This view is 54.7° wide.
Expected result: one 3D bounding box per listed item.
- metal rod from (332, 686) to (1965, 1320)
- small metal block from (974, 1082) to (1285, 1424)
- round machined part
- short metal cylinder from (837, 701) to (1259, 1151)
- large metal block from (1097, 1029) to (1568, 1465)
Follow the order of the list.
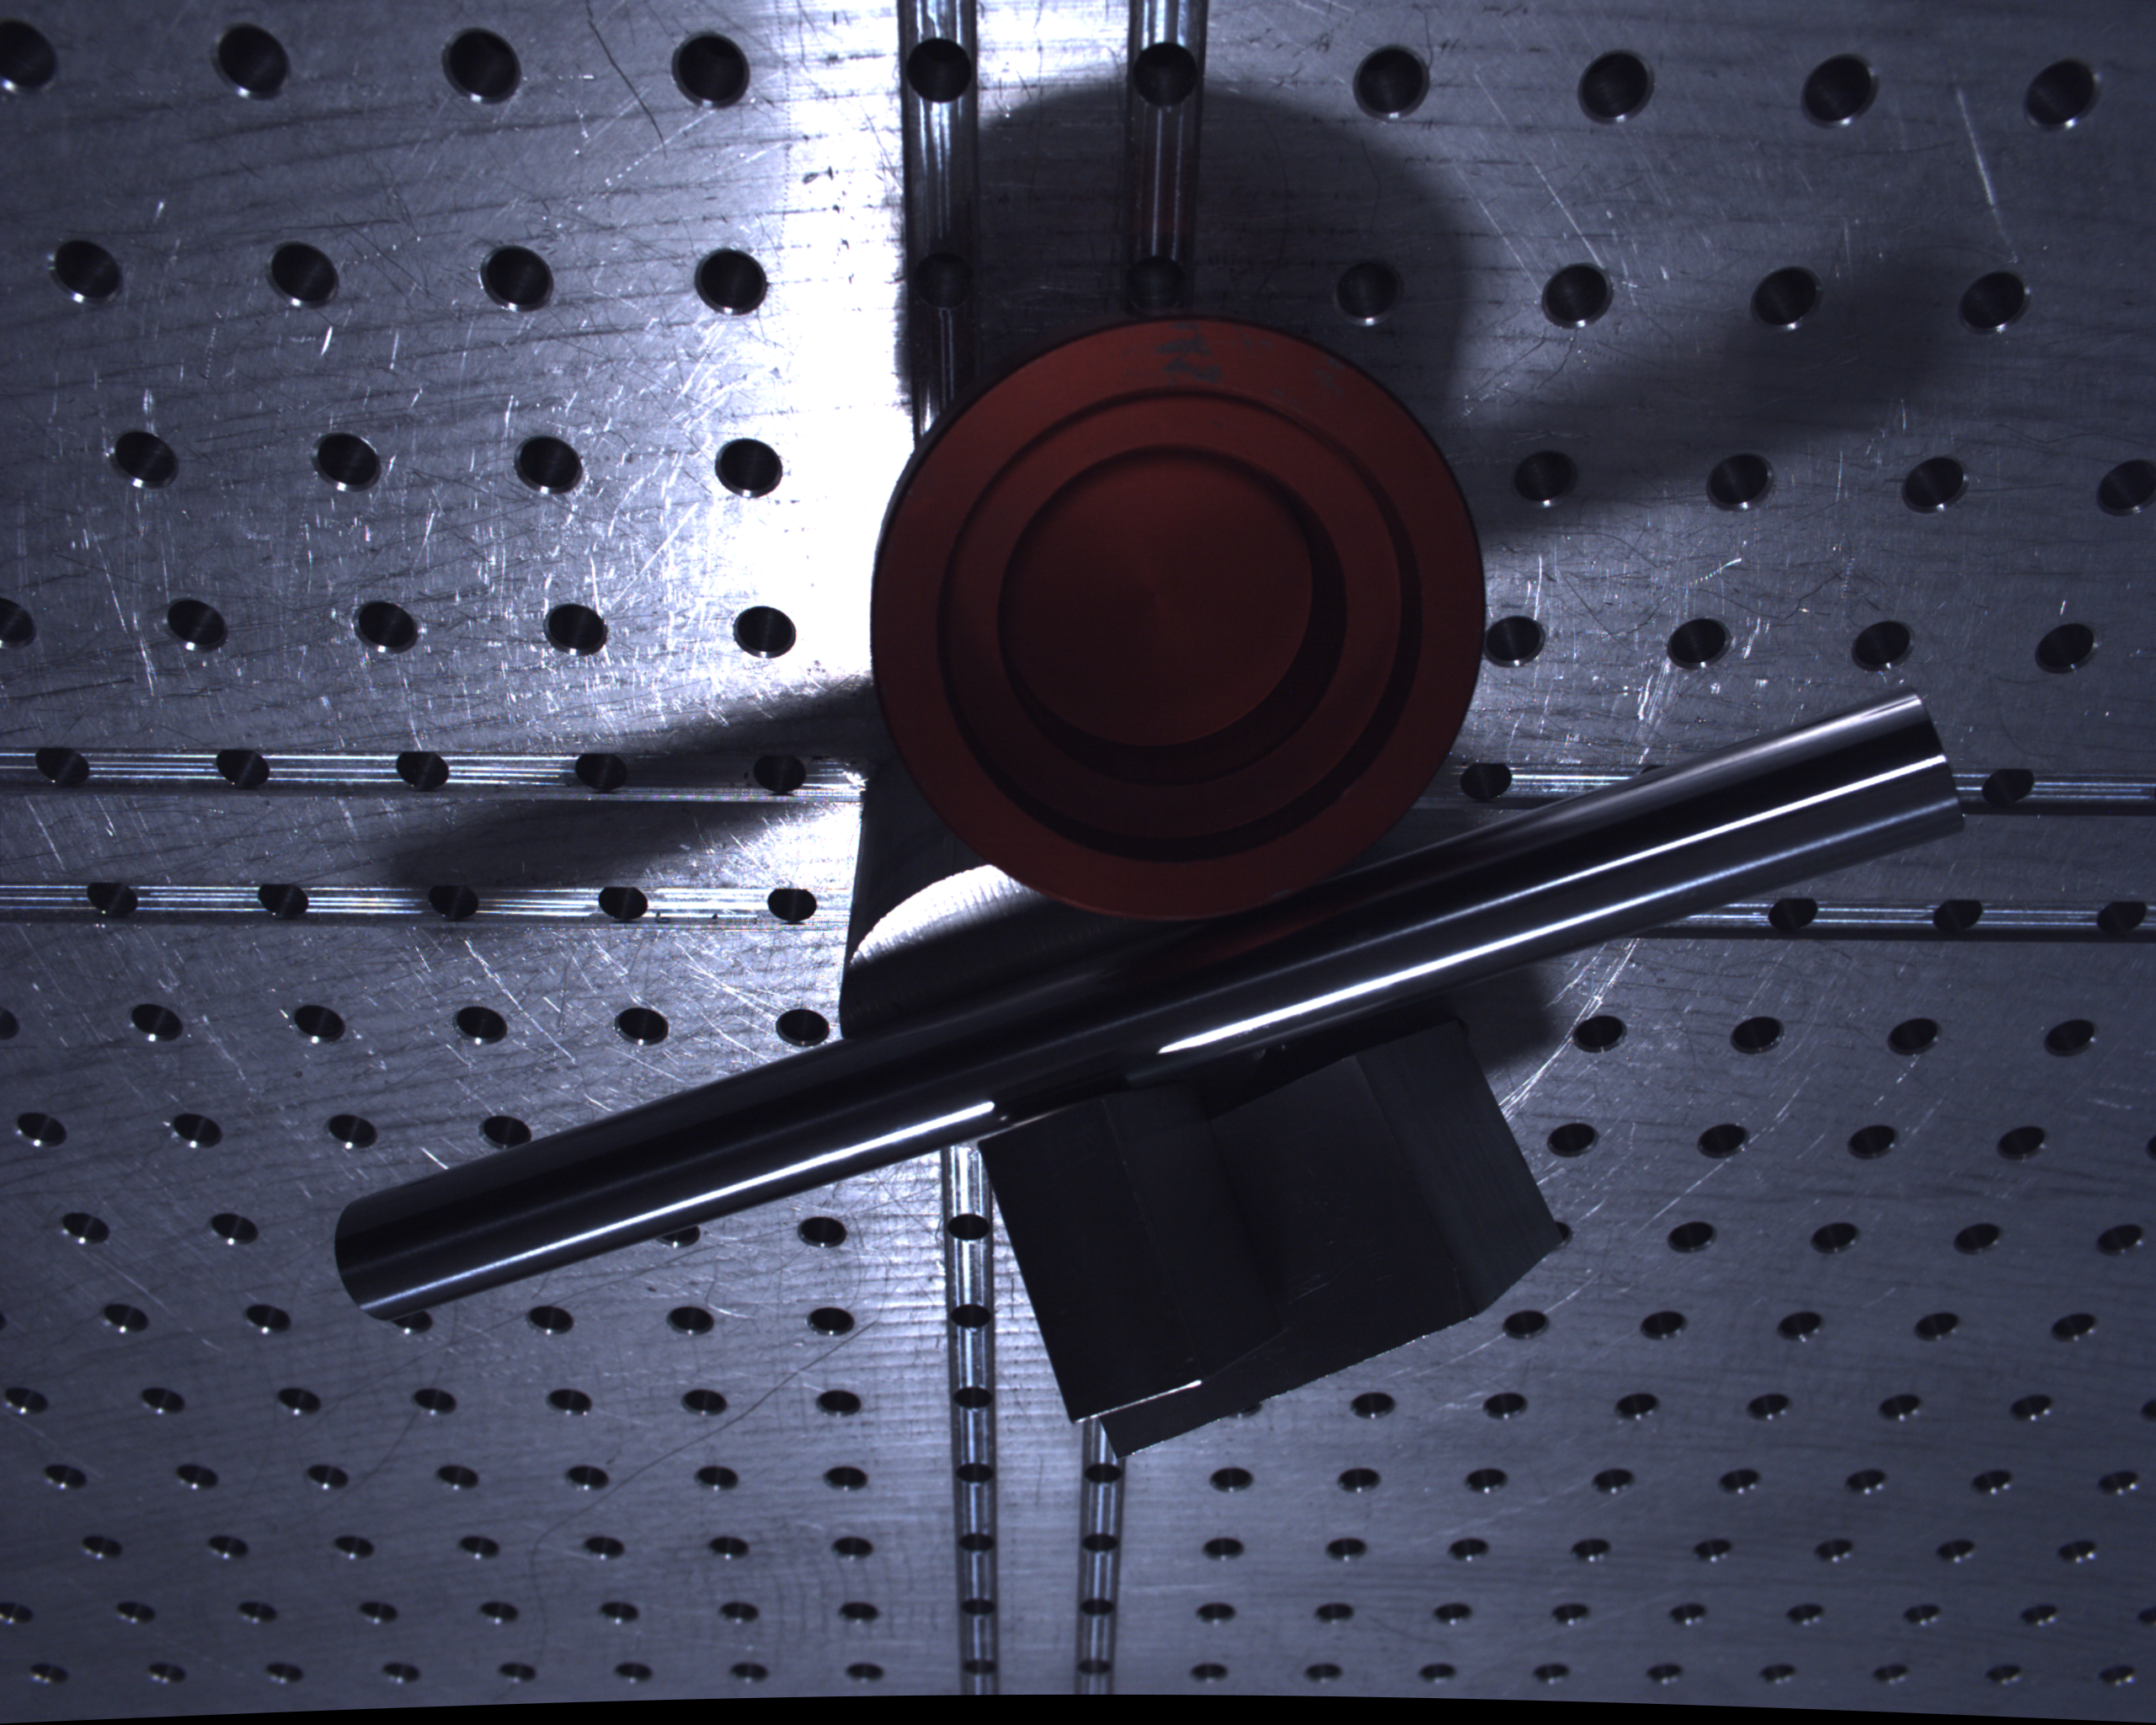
[{"bbox_3d":[0.000,0.031,0.371,0.301,0.025,0.025,-19,128,15],"label":"metal rod"},{"bbox_3d":[0.010,0.068,0.373,0.025,0.050,0.050,-23,169,18],"label":"small metal block"},{"bbox_3d":[0.015,-0.043,0.349,0.099,0.042,0.097,-2,108,-6],"label":"round machined part"},{"bbox_3d":[-0.004,0.013,0.406,0.081,0.050,0.079,0,130,0],"label":"short metal cylinder"},{"bbox_3d":[0.046,0.077,0.431,0.080,0.050,0.080,-28,170,22],"label":"large metal block"}]
